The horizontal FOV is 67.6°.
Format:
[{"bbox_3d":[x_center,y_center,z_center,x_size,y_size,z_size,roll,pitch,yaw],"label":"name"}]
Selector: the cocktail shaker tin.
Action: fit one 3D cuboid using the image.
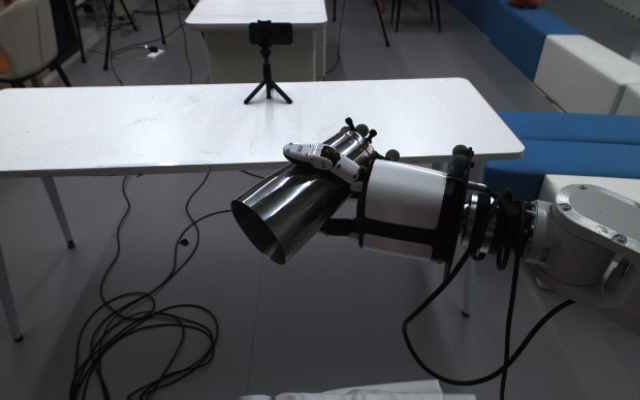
[{"bbox_3d":[-0.012,-0.015,0.577,0.170,0.093,0.093,-38,50,-24],"label":"cocktail shaker tin"}]
